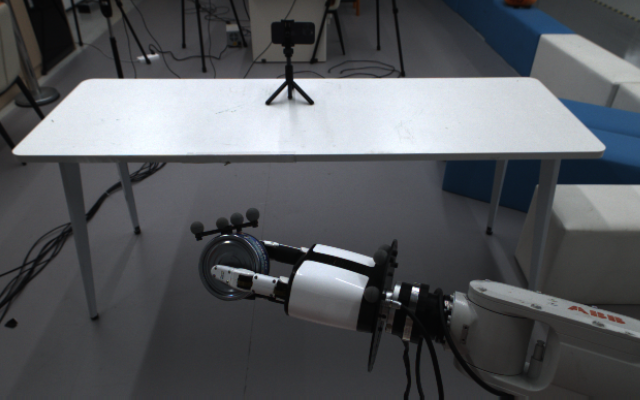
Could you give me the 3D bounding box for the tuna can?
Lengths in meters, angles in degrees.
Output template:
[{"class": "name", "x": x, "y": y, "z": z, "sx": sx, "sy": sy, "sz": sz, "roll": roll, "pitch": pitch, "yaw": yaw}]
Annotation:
[{"class": "tuna can", "x": -0.106, "y": 0.090, "z": 0.612, "sx": 0.085, "sy": 0.085, "sz": 0.034, "roll": 12, "pitch": 3, "yaw": 14}]
